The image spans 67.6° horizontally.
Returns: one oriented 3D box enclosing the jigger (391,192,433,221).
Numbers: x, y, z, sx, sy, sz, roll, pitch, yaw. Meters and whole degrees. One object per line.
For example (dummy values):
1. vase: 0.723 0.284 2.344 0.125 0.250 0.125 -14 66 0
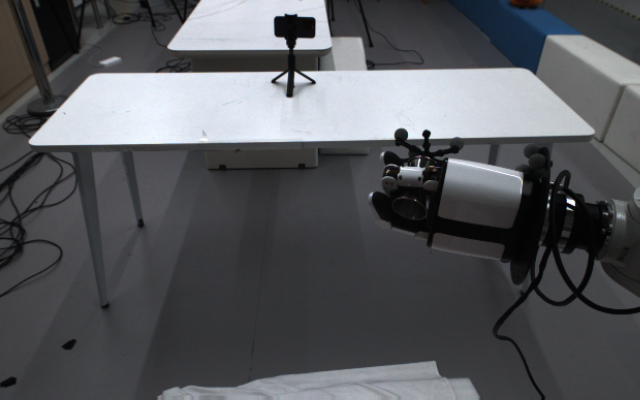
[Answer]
1. jigger: 0.120 -0.016 0.586 0.043 0.043 0.071 13 58 15
